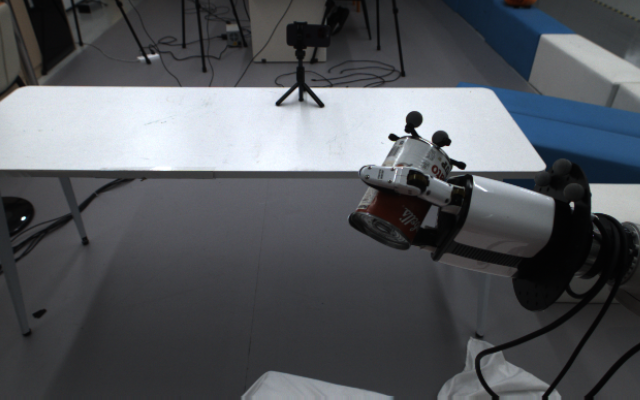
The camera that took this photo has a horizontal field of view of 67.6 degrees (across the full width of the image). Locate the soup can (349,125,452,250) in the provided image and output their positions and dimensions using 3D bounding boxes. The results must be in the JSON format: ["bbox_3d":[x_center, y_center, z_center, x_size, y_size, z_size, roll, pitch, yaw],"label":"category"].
[{"bbox_3d":[0.089,-0.008,0.508,0.067,0.067,0.101,22,71,27],"label":"soup can"}]
